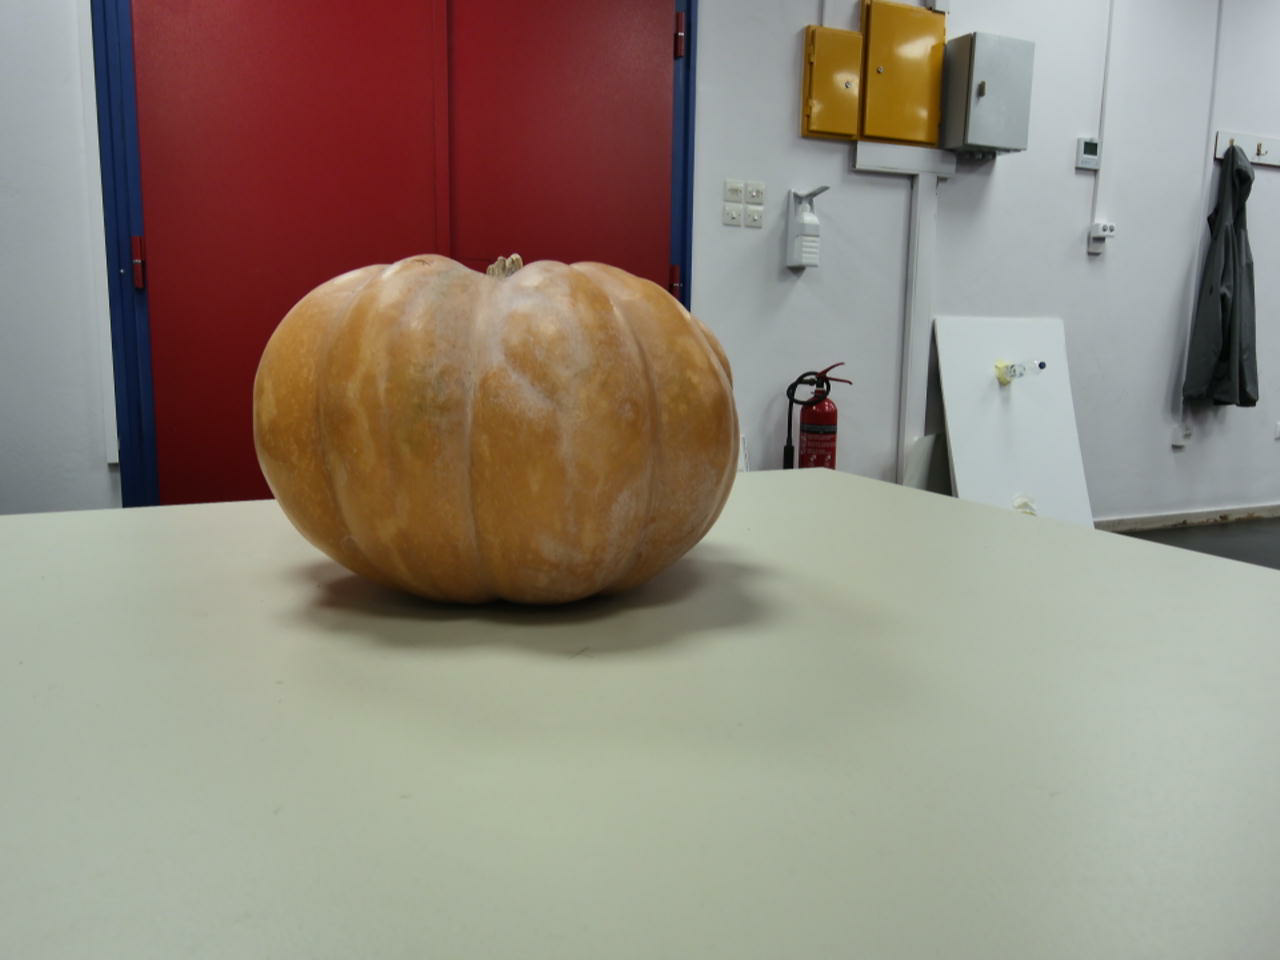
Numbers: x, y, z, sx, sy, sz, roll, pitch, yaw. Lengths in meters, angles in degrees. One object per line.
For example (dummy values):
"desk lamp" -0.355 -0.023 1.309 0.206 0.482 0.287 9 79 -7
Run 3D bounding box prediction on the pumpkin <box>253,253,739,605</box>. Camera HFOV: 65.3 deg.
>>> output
"pumpkin" -0.073 -0.031 0.547 0.277 0.181 0.277 0 7 0
